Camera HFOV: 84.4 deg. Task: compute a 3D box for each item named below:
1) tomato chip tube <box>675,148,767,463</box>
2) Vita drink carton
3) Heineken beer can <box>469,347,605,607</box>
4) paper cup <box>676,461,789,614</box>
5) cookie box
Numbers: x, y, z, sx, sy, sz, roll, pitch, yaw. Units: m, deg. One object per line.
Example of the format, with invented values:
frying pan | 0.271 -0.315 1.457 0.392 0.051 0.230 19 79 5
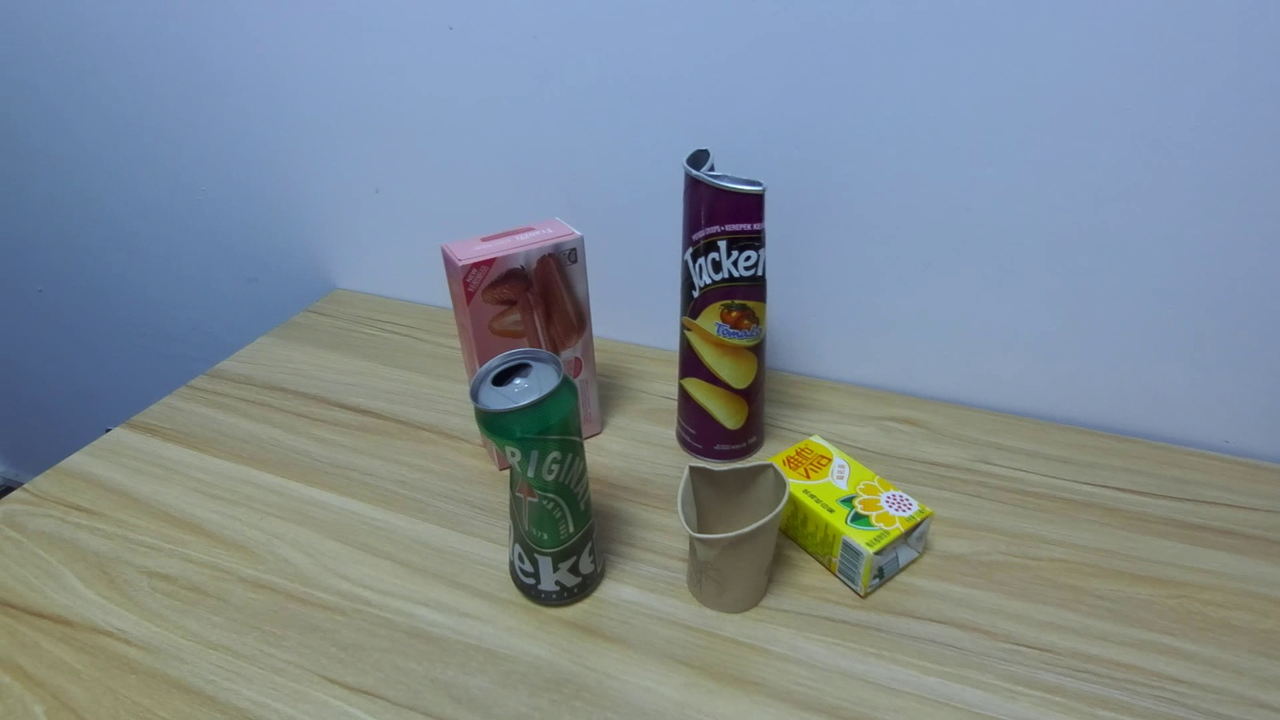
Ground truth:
tomato chip tube | 0.066 -0.034 0.546 0.076 0.235 0.078 12 35 21
Vita drink carton | 0.141 0.106 0.504 0.067 0.043 0.108 -20 36 -29
Heineken beer can | -0.064 0.079 0.449 0.069 0.168 0.068 8 36 21
paper cup | 0.059 0.117 0.455 0.071 0.084 0.066 -3 33 1
cookie box | -0.089 -0.010 0.567 0.096 0.185 0.048 -19 34 -24
